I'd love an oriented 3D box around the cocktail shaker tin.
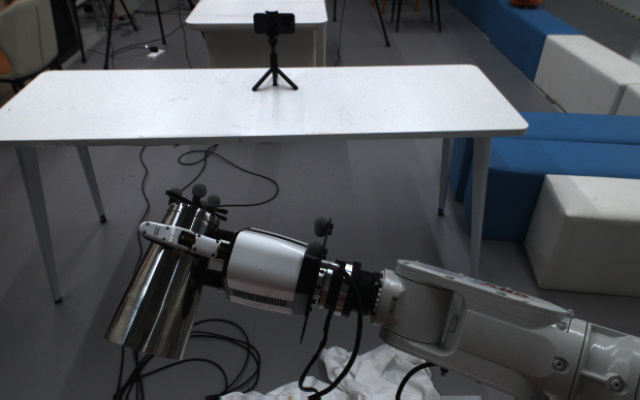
[{"bbox_3d":[-0.181,0.095,0.582,0.093,0.093,0.170,13,72,15],"label":"cocktail shaker tin"}]
